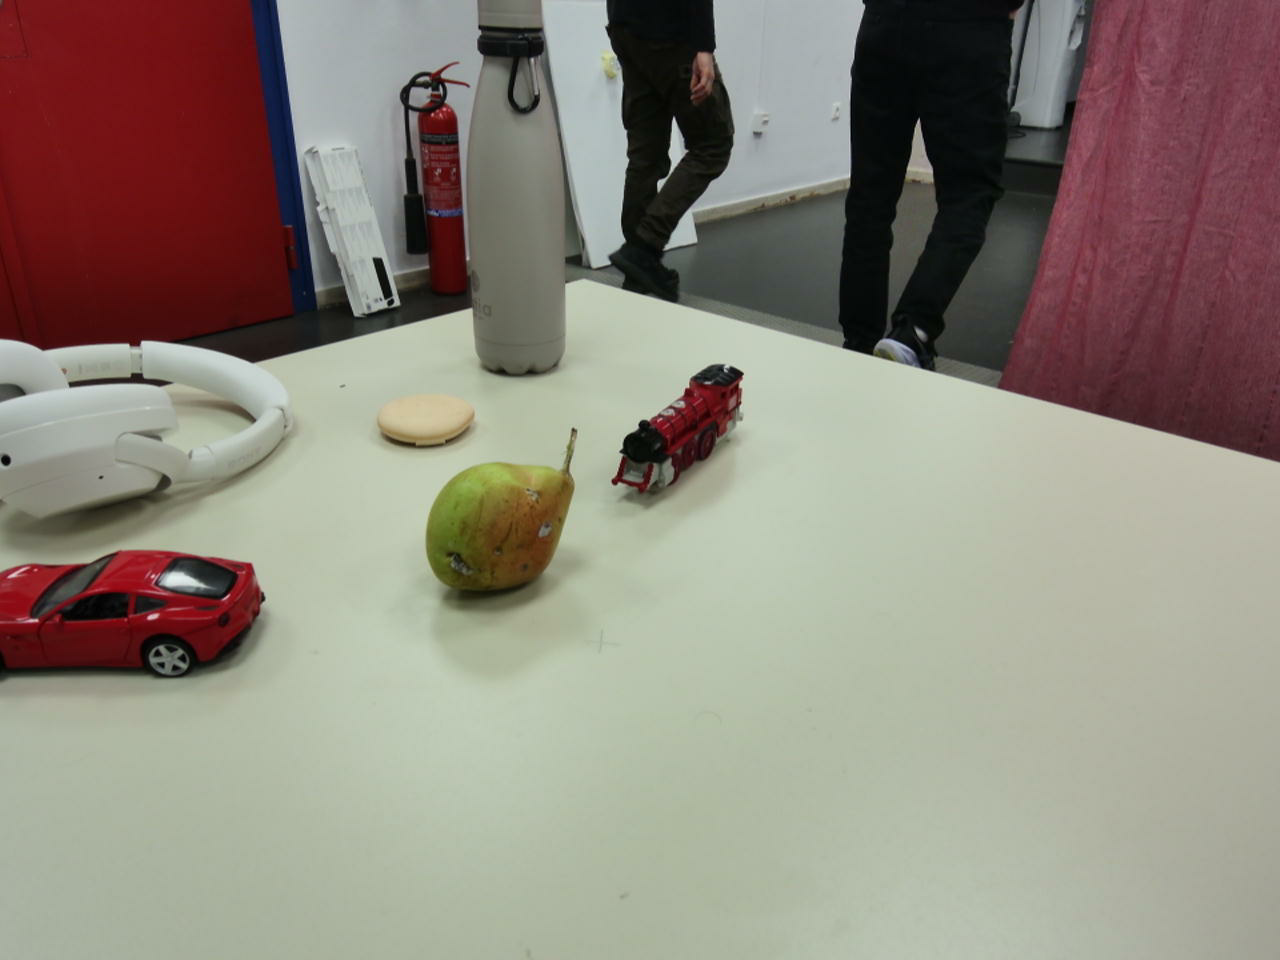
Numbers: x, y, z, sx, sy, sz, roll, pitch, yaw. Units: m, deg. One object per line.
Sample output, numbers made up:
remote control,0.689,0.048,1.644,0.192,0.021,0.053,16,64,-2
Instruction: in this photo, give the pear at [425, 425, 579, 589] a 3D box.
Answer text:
pear,-0.068,0.017,0.489,0.070,0.069,0.068,1,25,2
